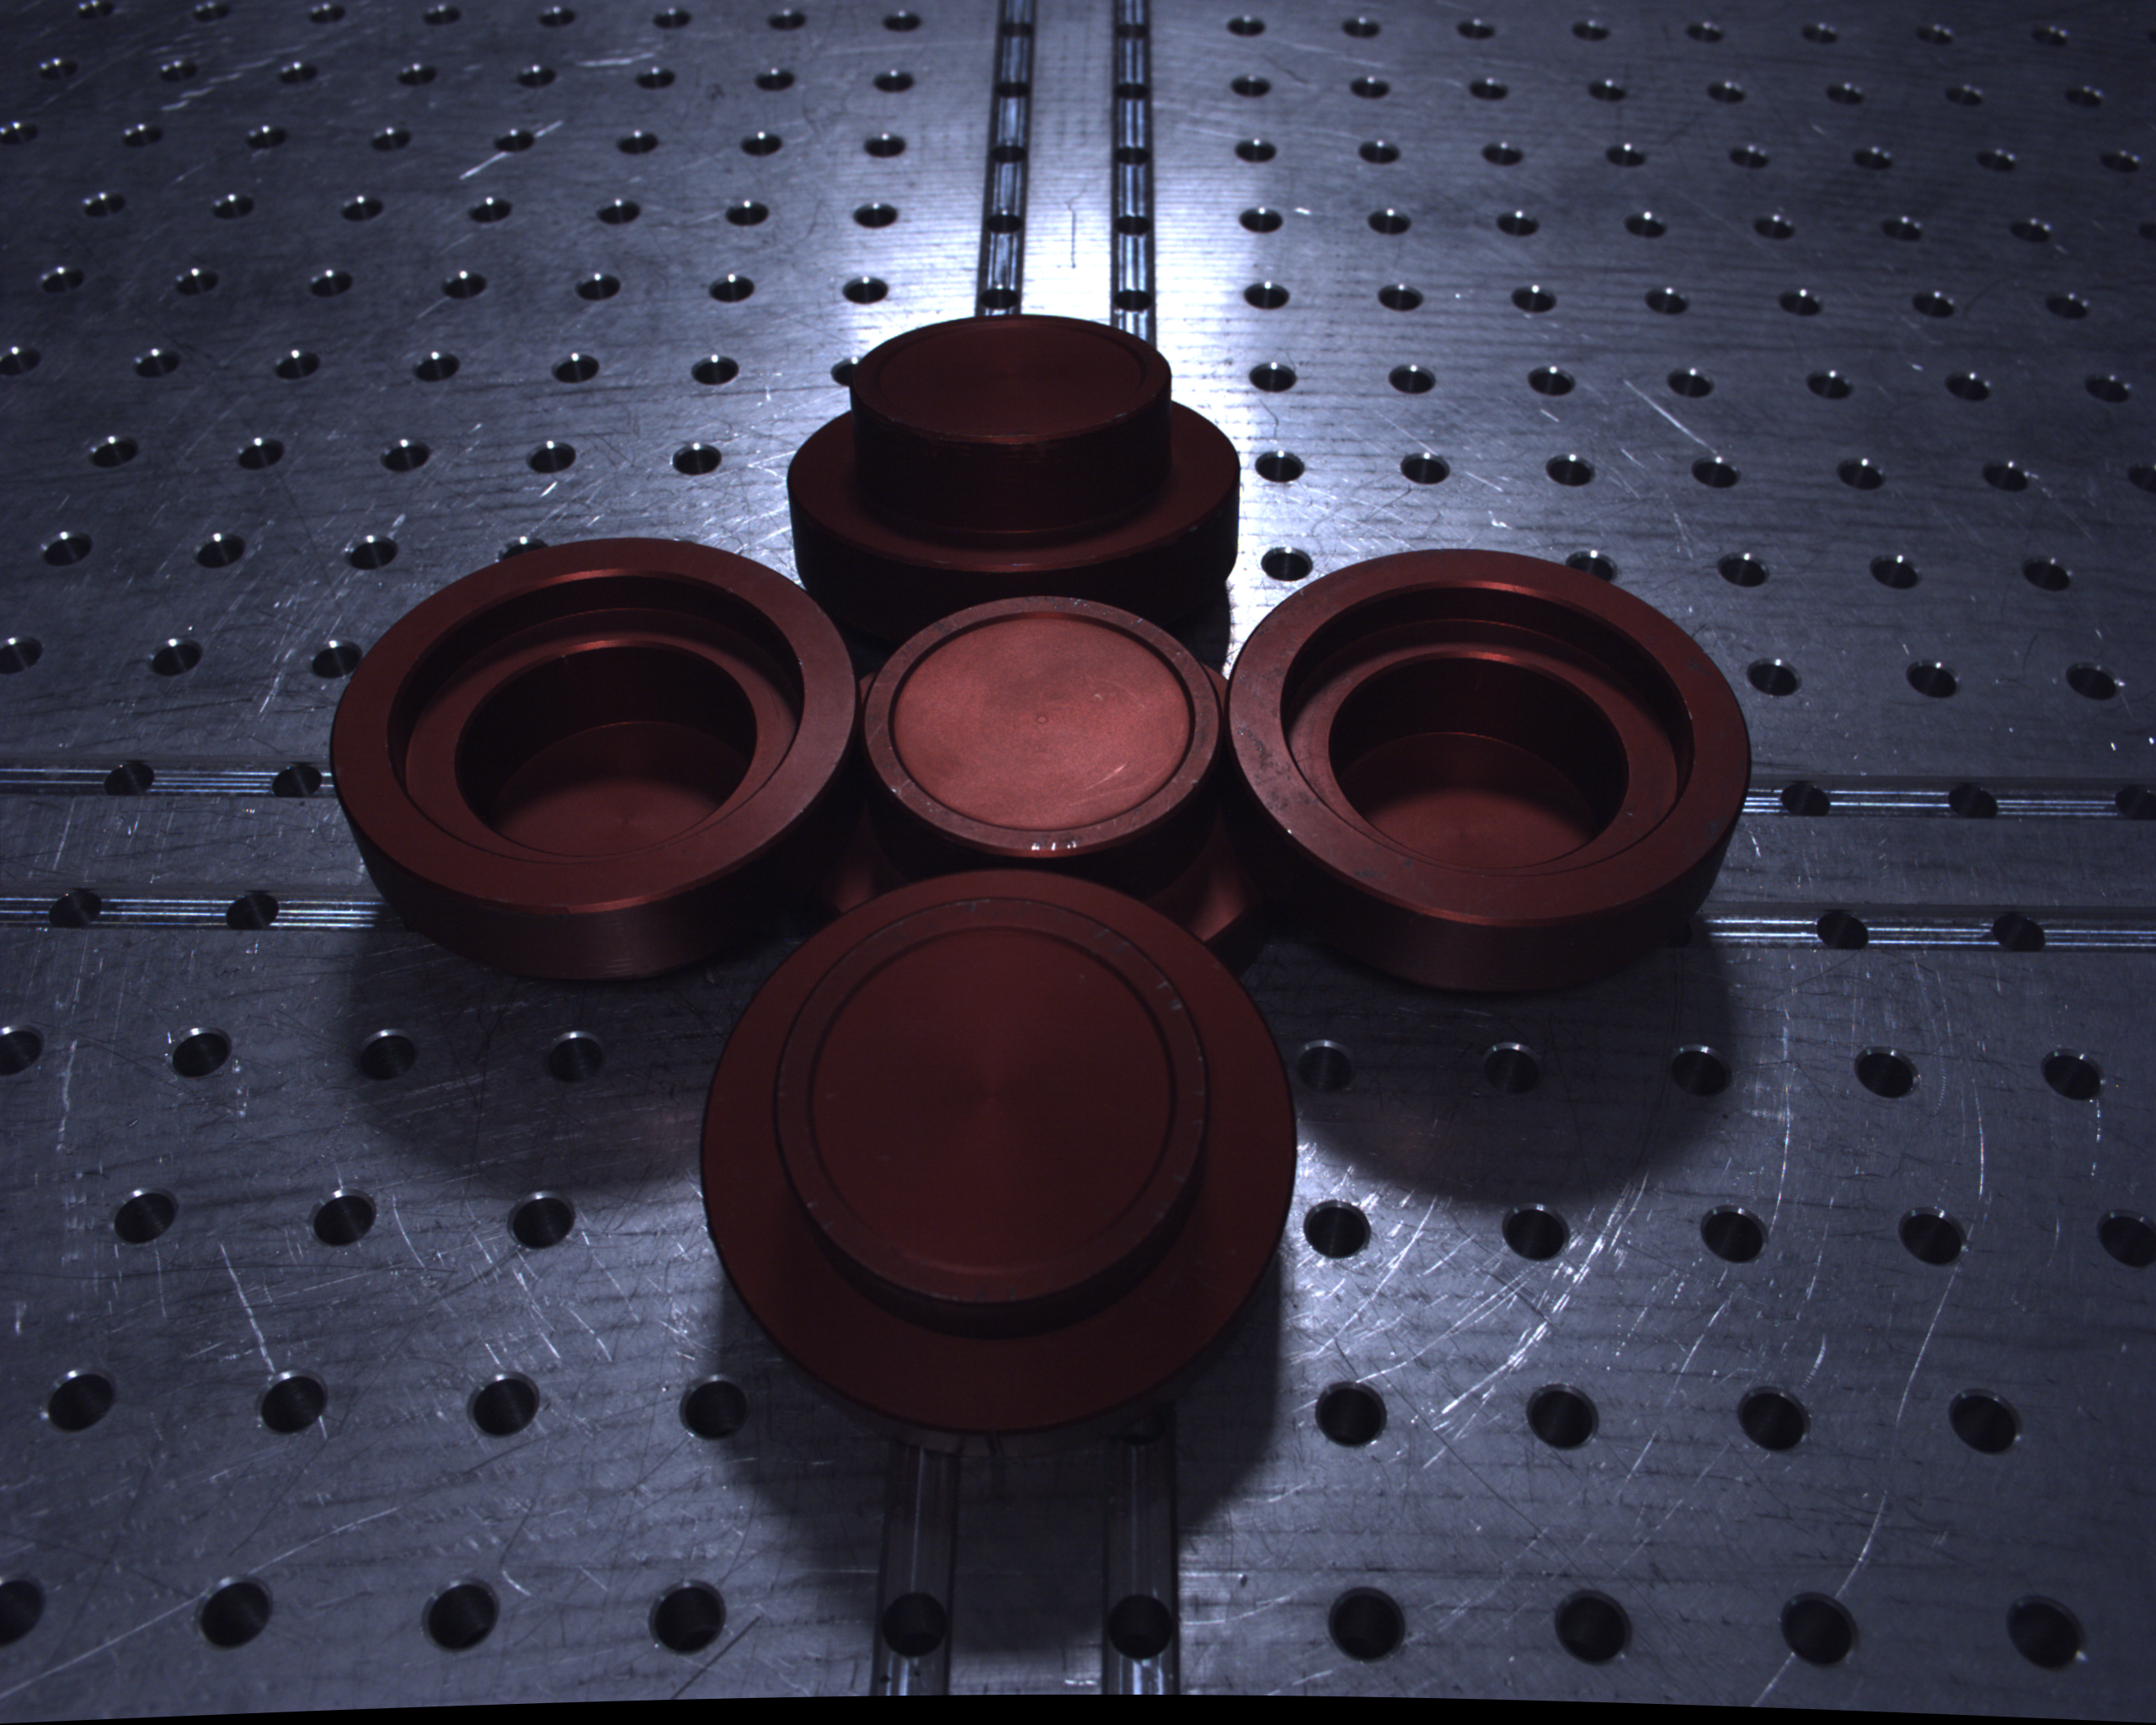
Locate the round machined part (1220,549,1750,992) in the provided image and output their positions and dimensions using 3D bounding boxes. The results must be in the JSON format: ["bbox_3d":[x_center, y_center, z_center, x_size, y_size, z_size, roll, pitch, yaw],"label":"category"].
[{"bbox_3d":[0.077,-0.014,0.408,0.099,0.042,0.098,0,50,0],"label":"round machined part"}]

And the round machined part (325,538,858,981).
[{"bbox_3d":[-0.091,-0.016,0.408,0.099,0.042,0.098,0,50,0],"label":"round machined part"}]

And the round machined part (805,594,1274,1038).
[{"bbox_3d":[-0.008,-0.015,0.407,0.099,0.042,0.098,0,50,0],"label":"round machined part"}]

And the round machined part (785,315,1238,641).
[{"bbox_3d":[-0.014,-0.087,0.455,0.099,0.042,0.098,-1,36,1],"label":"round machined part"}]

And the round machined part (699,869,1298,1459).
[{"bbox_3d":[-0.013,0.045,0.344,0.099,0.042,0.098,0,65,0],"label":"round machined part"}]
